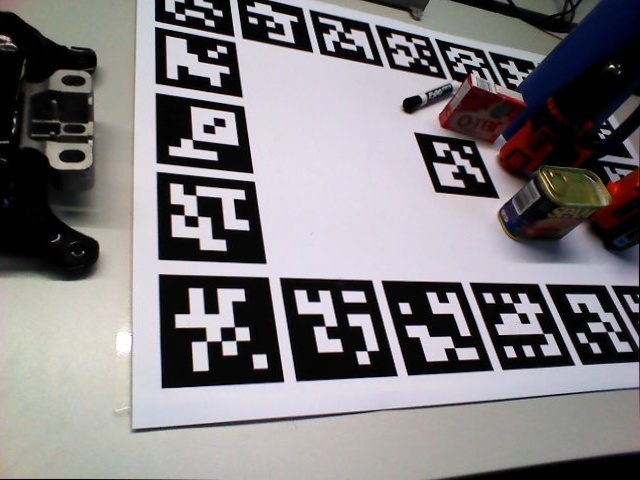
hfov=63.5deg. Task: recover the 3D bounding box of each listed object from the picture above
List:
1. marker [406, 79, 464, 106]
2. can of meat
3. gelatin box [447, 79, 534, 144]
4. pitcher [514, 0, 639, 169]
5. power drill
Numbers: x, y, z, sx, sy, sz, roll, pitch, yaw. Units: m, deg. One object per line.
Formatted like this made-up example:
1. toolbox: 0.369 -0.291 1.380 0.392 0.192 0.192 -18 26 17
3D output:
1. marker: 0.166 -0.212 0.739 0.120 0.020 0.019 -25 72 -33
2. can of meat: 0.289 -0.038 0.639 0.101 0.084 0.057 2 56 -24
3. gelatin box: 0.233 -0.175 0.715 0.089 0.074 0.030 14 58 -18
4. pitcher: 0.394 -0.210 0.711 0.189 0.244 0.132 27 55 2
5. power drill: 0.358 -0.113 0.660 0.187 0.186 0.057 36 54 -7
